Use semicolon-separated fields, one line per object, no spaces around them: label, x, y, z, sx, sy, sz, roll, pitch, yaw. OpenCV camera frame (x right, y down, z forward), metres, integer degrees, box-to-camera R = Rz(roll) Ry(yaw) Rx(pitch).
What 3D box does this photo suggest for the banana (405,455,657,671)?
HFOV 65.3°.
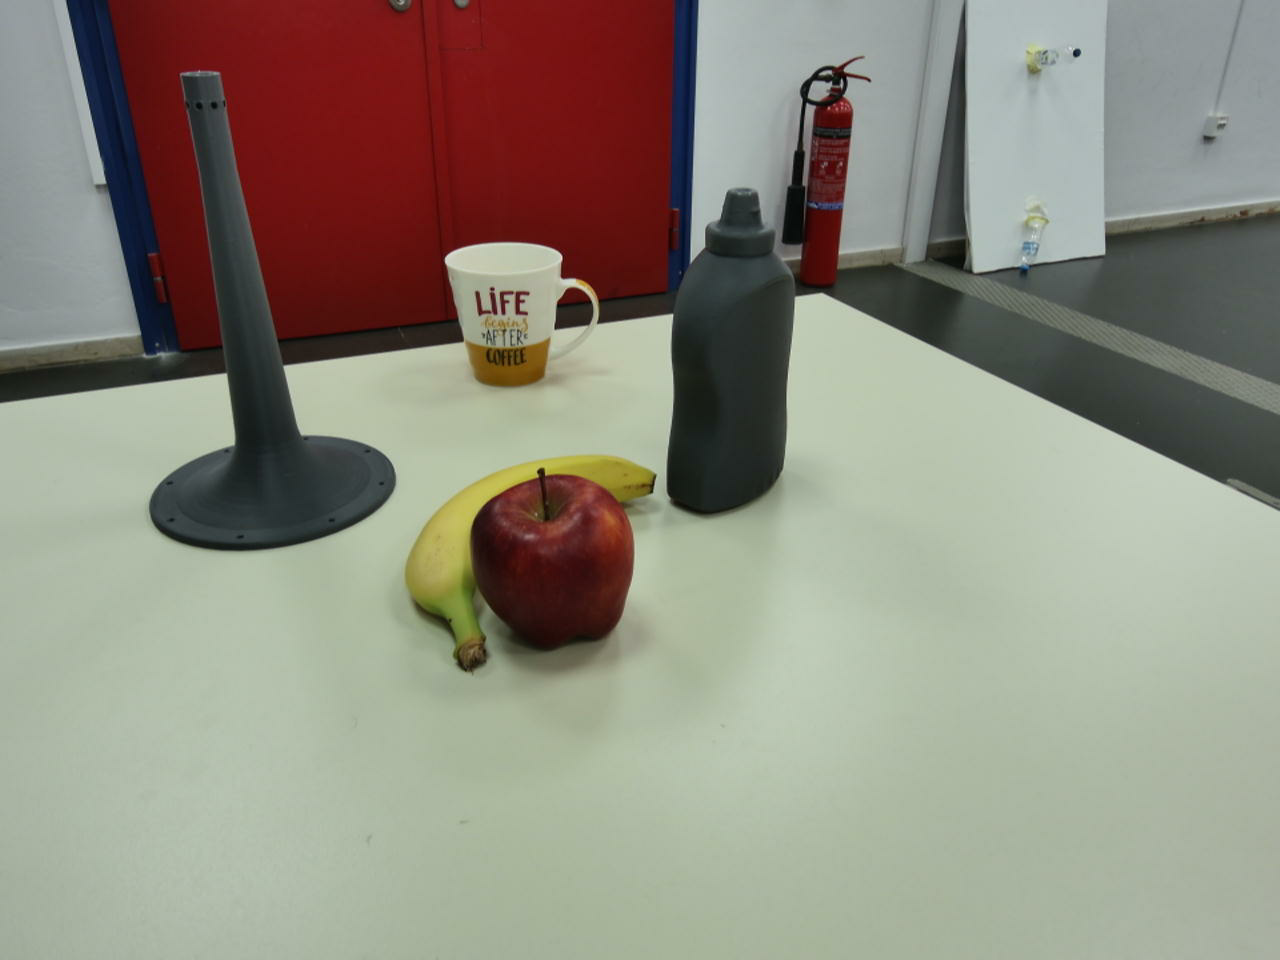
banana;-0.073;0.029;0.576;0.094;0.041;0.196;14;29;26
